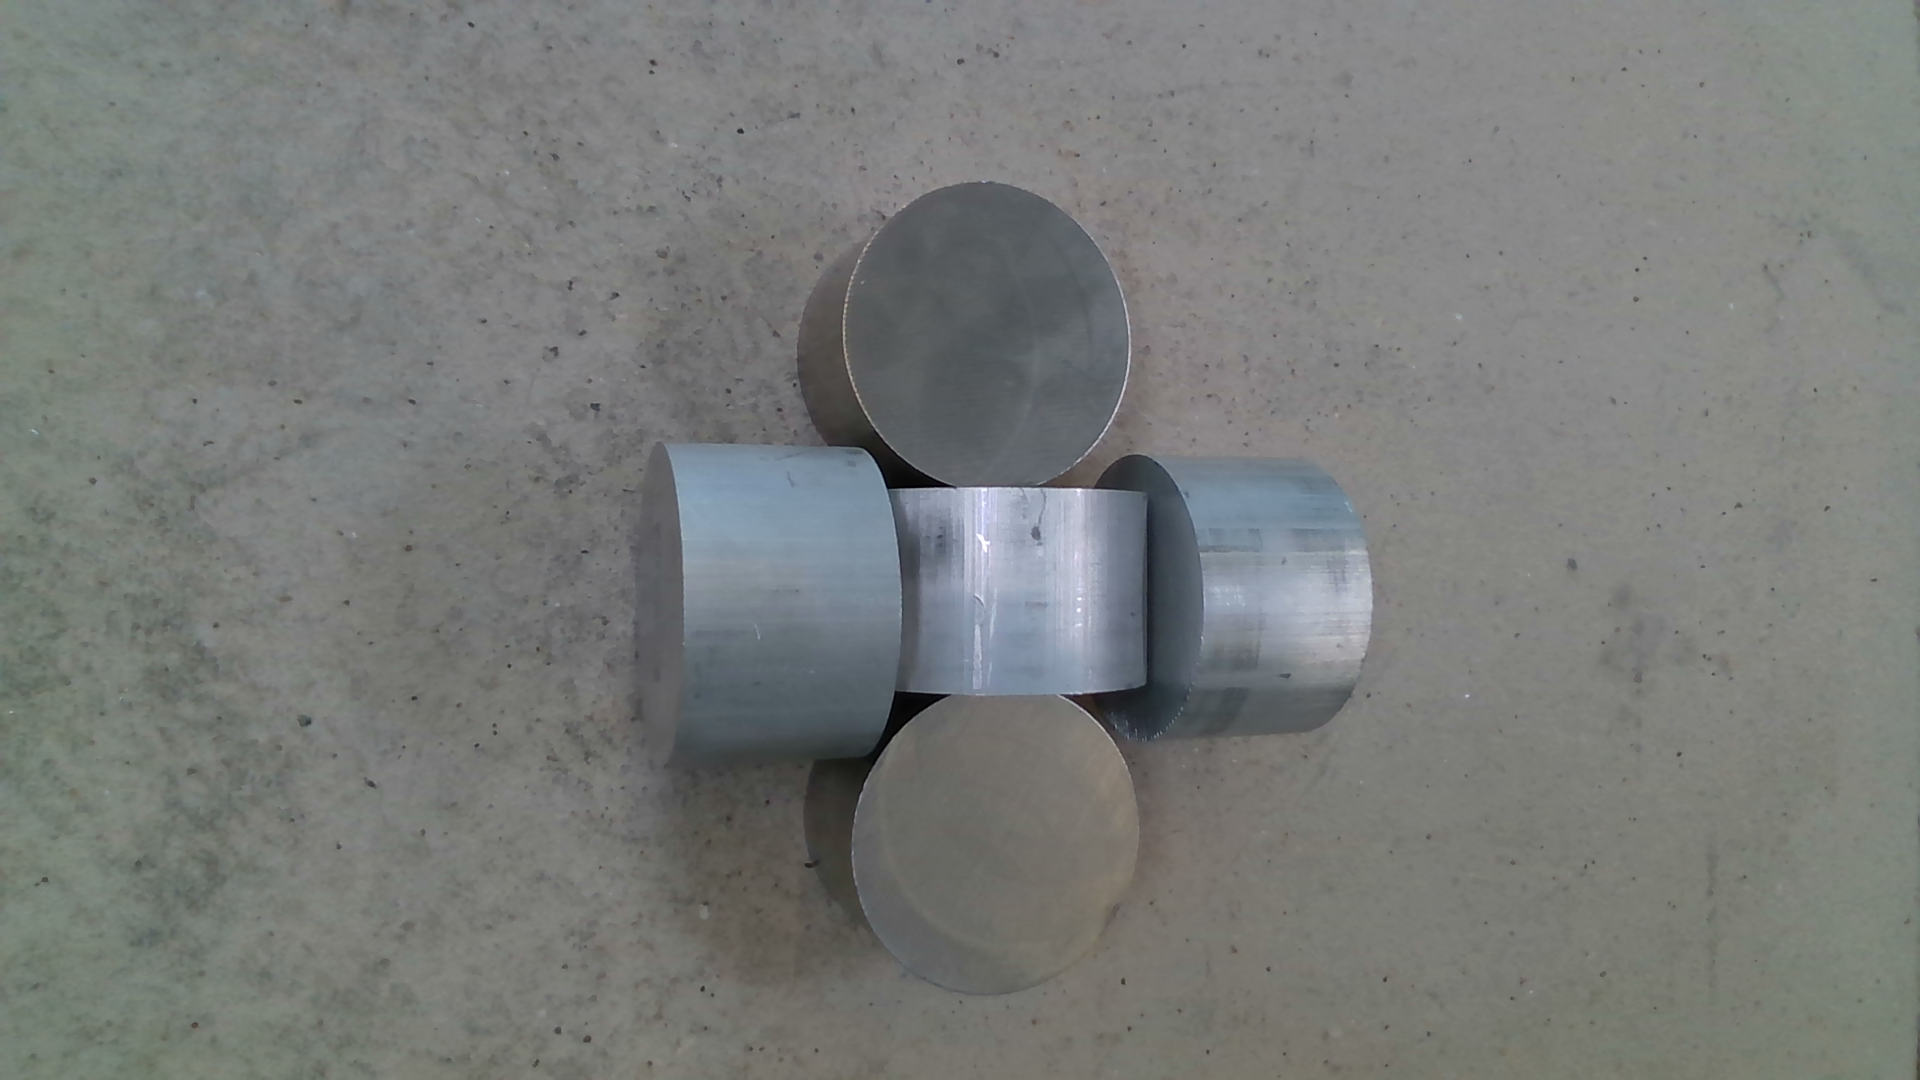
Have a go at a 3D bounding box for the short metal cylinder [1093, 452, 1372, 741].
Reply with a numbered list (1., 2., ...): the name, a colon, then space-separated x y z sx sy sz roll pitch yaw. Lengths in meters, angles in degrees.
1. short metal cylinder: 0.071 0.015 0.392 0.050 0.080 0.080 0 90 -20

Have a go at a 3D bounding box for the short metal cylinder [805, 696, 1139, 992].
1. short metal cylinder: 0.002 0.077 0.382 0.080 0.050 0.080 0 90 -20

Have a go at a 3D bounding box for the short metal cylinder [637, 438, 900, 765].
1. short metal cylinder: -0.051 0.015 0.347 0.050 0.080 0.080 0 90 -21

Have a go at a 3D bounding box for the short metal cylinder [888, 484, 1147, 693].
1. short metal cylinder: 0.010 0.012 0.369 0.080 0.080 0.050 0 90 -20

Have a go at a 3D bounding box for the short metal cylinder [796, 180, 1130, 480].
1. short metal cylinder: 0.000 -0.053 0.381 0.080 0.050 0.080 0 91 -20
